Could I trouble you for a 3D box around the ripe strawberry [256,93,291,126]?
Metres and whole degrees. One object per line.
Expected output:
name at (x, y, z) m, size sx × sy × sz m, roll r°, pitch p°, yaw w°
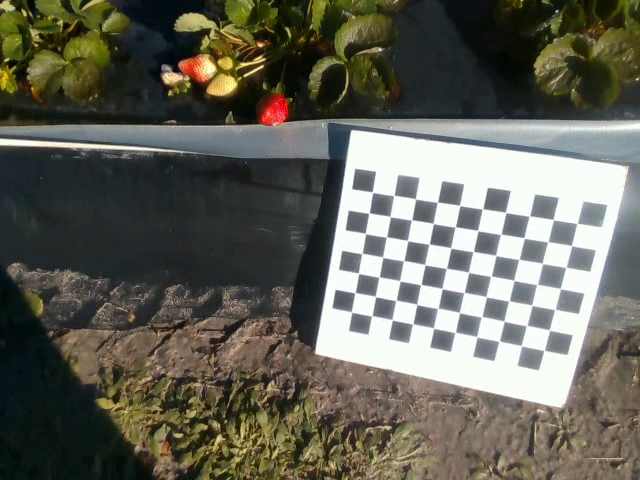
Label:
ripe strawberry at (-0.052, -0.124, 0.681) m, size 0.036 × 0.038 × 0.046 m, roll 8°, pitch 24°, yaw 15°
